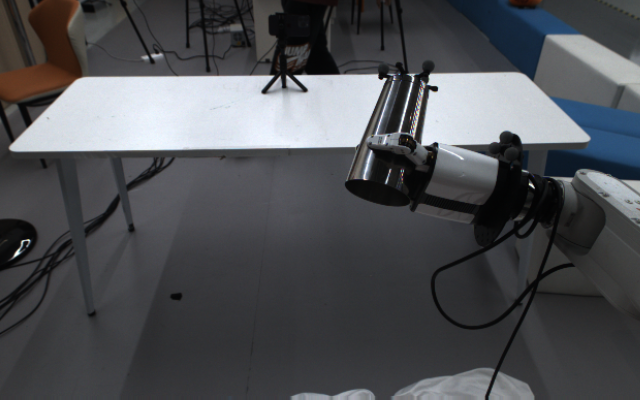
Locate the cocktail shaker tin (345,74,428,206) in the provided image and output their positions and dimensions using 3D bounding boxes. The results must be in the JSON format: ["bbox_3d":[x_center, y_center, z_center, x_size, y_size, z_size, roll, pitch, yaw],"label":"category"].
[{"bbox_3d":[0.102,-0.087,0.679,0.093,0.093,0.170,13,73,15],"label":"cocktail shaker tin"}]
